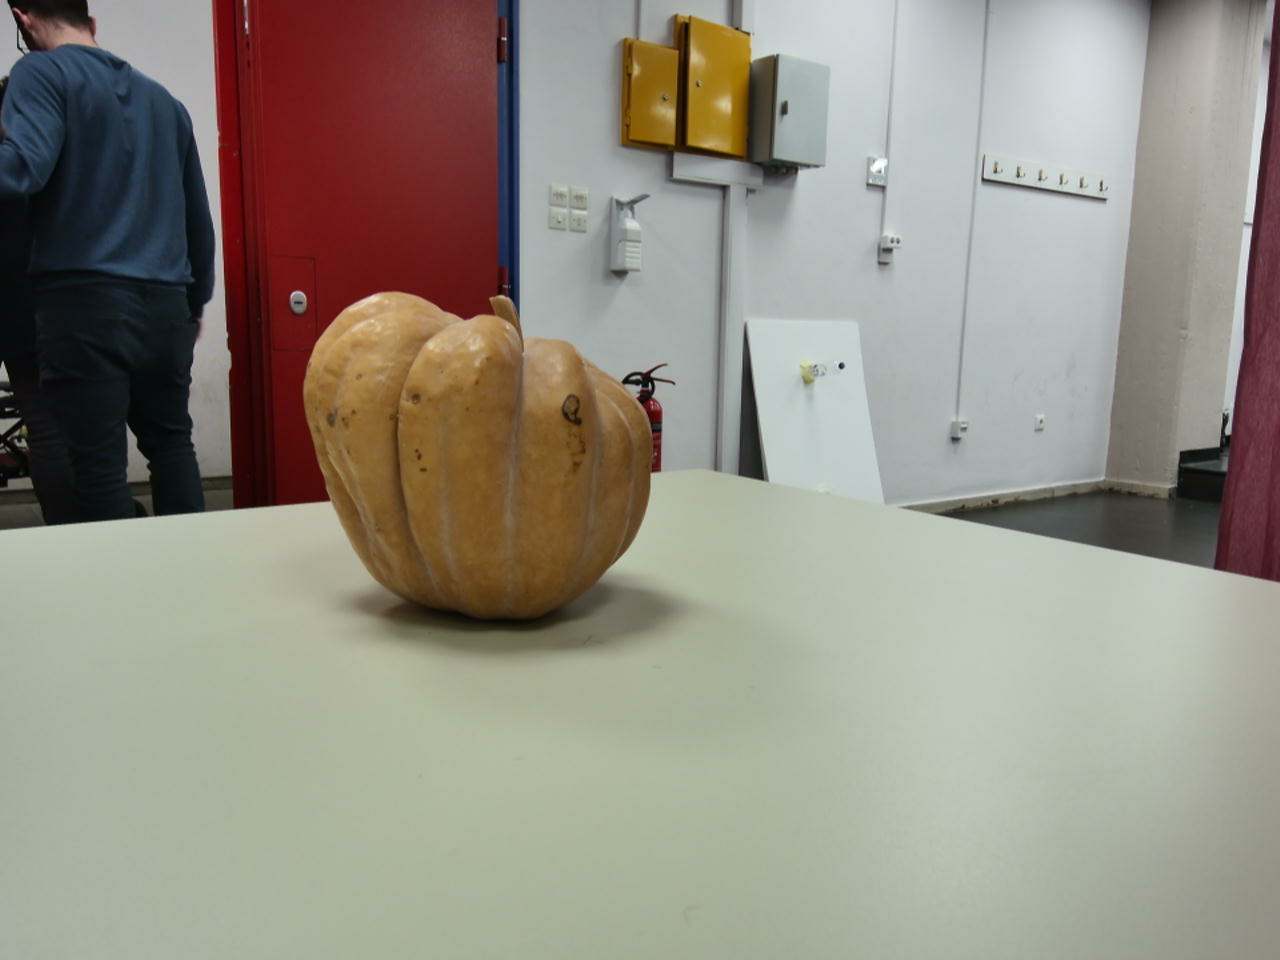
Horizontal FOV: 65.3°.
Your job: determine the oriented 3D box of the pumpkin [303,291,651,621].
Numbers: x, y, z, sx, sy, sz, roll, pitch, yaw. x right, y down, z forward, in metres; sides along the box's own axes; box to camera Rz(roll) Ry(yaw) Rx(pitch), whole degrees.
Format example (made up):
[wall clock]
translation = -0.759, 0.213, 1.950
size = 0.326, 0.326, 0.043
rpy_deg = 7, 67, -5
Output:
[pumpkin]
translation = -0.089, -0.015, 0.560
size = 0.199, 0.177, 0.198
rpy_deg = 1, 7, 0
